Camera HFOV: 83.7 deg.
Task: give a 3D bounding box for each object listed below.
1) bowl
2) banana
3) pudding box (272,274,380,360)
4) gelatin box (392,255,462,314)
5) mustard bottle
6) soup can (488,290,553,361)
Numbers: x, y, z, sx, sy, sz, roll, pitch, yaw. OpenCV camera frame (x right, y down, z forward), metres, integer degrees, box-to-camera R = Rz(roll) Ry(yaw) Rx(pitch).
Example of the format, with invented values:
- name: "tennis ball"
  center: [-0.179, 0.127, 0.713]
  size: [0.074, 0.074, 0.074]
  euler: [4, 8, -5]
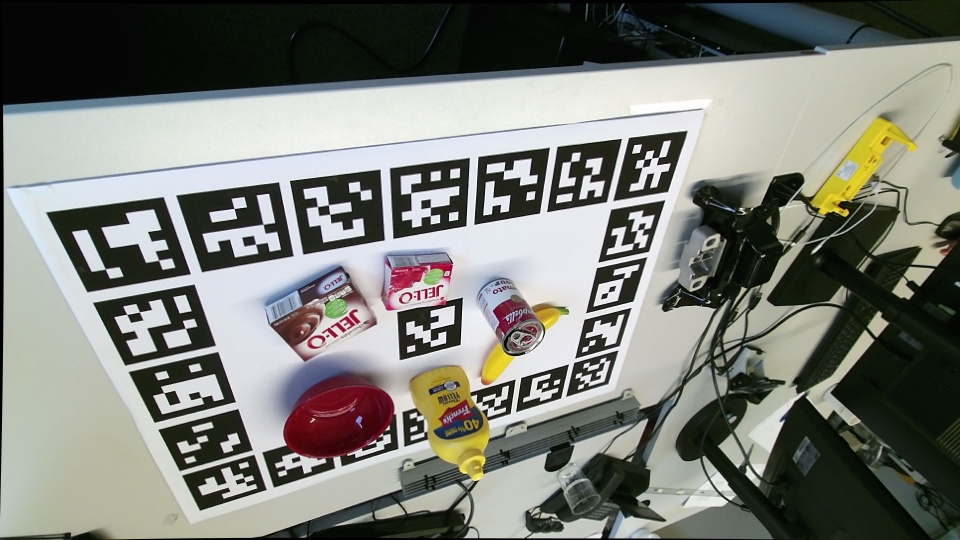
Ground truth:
- name: "bowl"
  center: [-0.218, 0.224, 0.813]
  size: [0.162, 0.055, 0.162]
  euler: [-16, 132, -18]
- name: "banana"
  center: [0.074, 0.146, 0.915]
  size: [0.197, 0.038, 0.074]
  euler: [-46, 142, 12]
- name: "pudding box"
  center: [-0.200, 0.069, 0.706]
  size: [0.114, 0.038, 0.090]
  euler: [-29, 128, -5]
- name: "gelatin box"
  center: [-0.073, 0.020, 0.741]
  size: [0.090, 0.030, 0.073]
  euler: [-5, 124, -25]
- name: "mustard bottle"
  center: [-0.030, 0.254, 0.824]
  size: [0.096, 0.190, 0.058]
  euler: [-11, 132, -21]
- name: "soup can"
  center: [0.060, 0.086, 0.804]
  size: [0.068, 0.101, 0.068]
  euler: [-14, 132, -16]
